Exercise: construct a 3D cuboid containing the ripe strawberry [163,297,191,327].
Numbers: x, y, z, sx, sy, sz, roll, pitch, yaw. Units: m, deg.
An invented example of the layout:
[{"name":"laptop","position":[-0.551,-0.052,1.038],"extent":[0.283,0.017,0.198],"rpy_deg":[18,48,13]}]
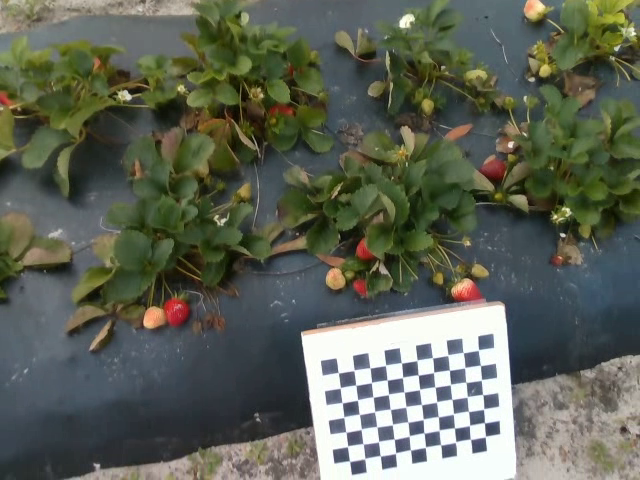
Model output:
[{"name":"ripe strawberry","position":[-0.185,0.093,0.749],"extent":[0.034,0.033,0.042],"rpy_deg":[23,35,-9]}]
